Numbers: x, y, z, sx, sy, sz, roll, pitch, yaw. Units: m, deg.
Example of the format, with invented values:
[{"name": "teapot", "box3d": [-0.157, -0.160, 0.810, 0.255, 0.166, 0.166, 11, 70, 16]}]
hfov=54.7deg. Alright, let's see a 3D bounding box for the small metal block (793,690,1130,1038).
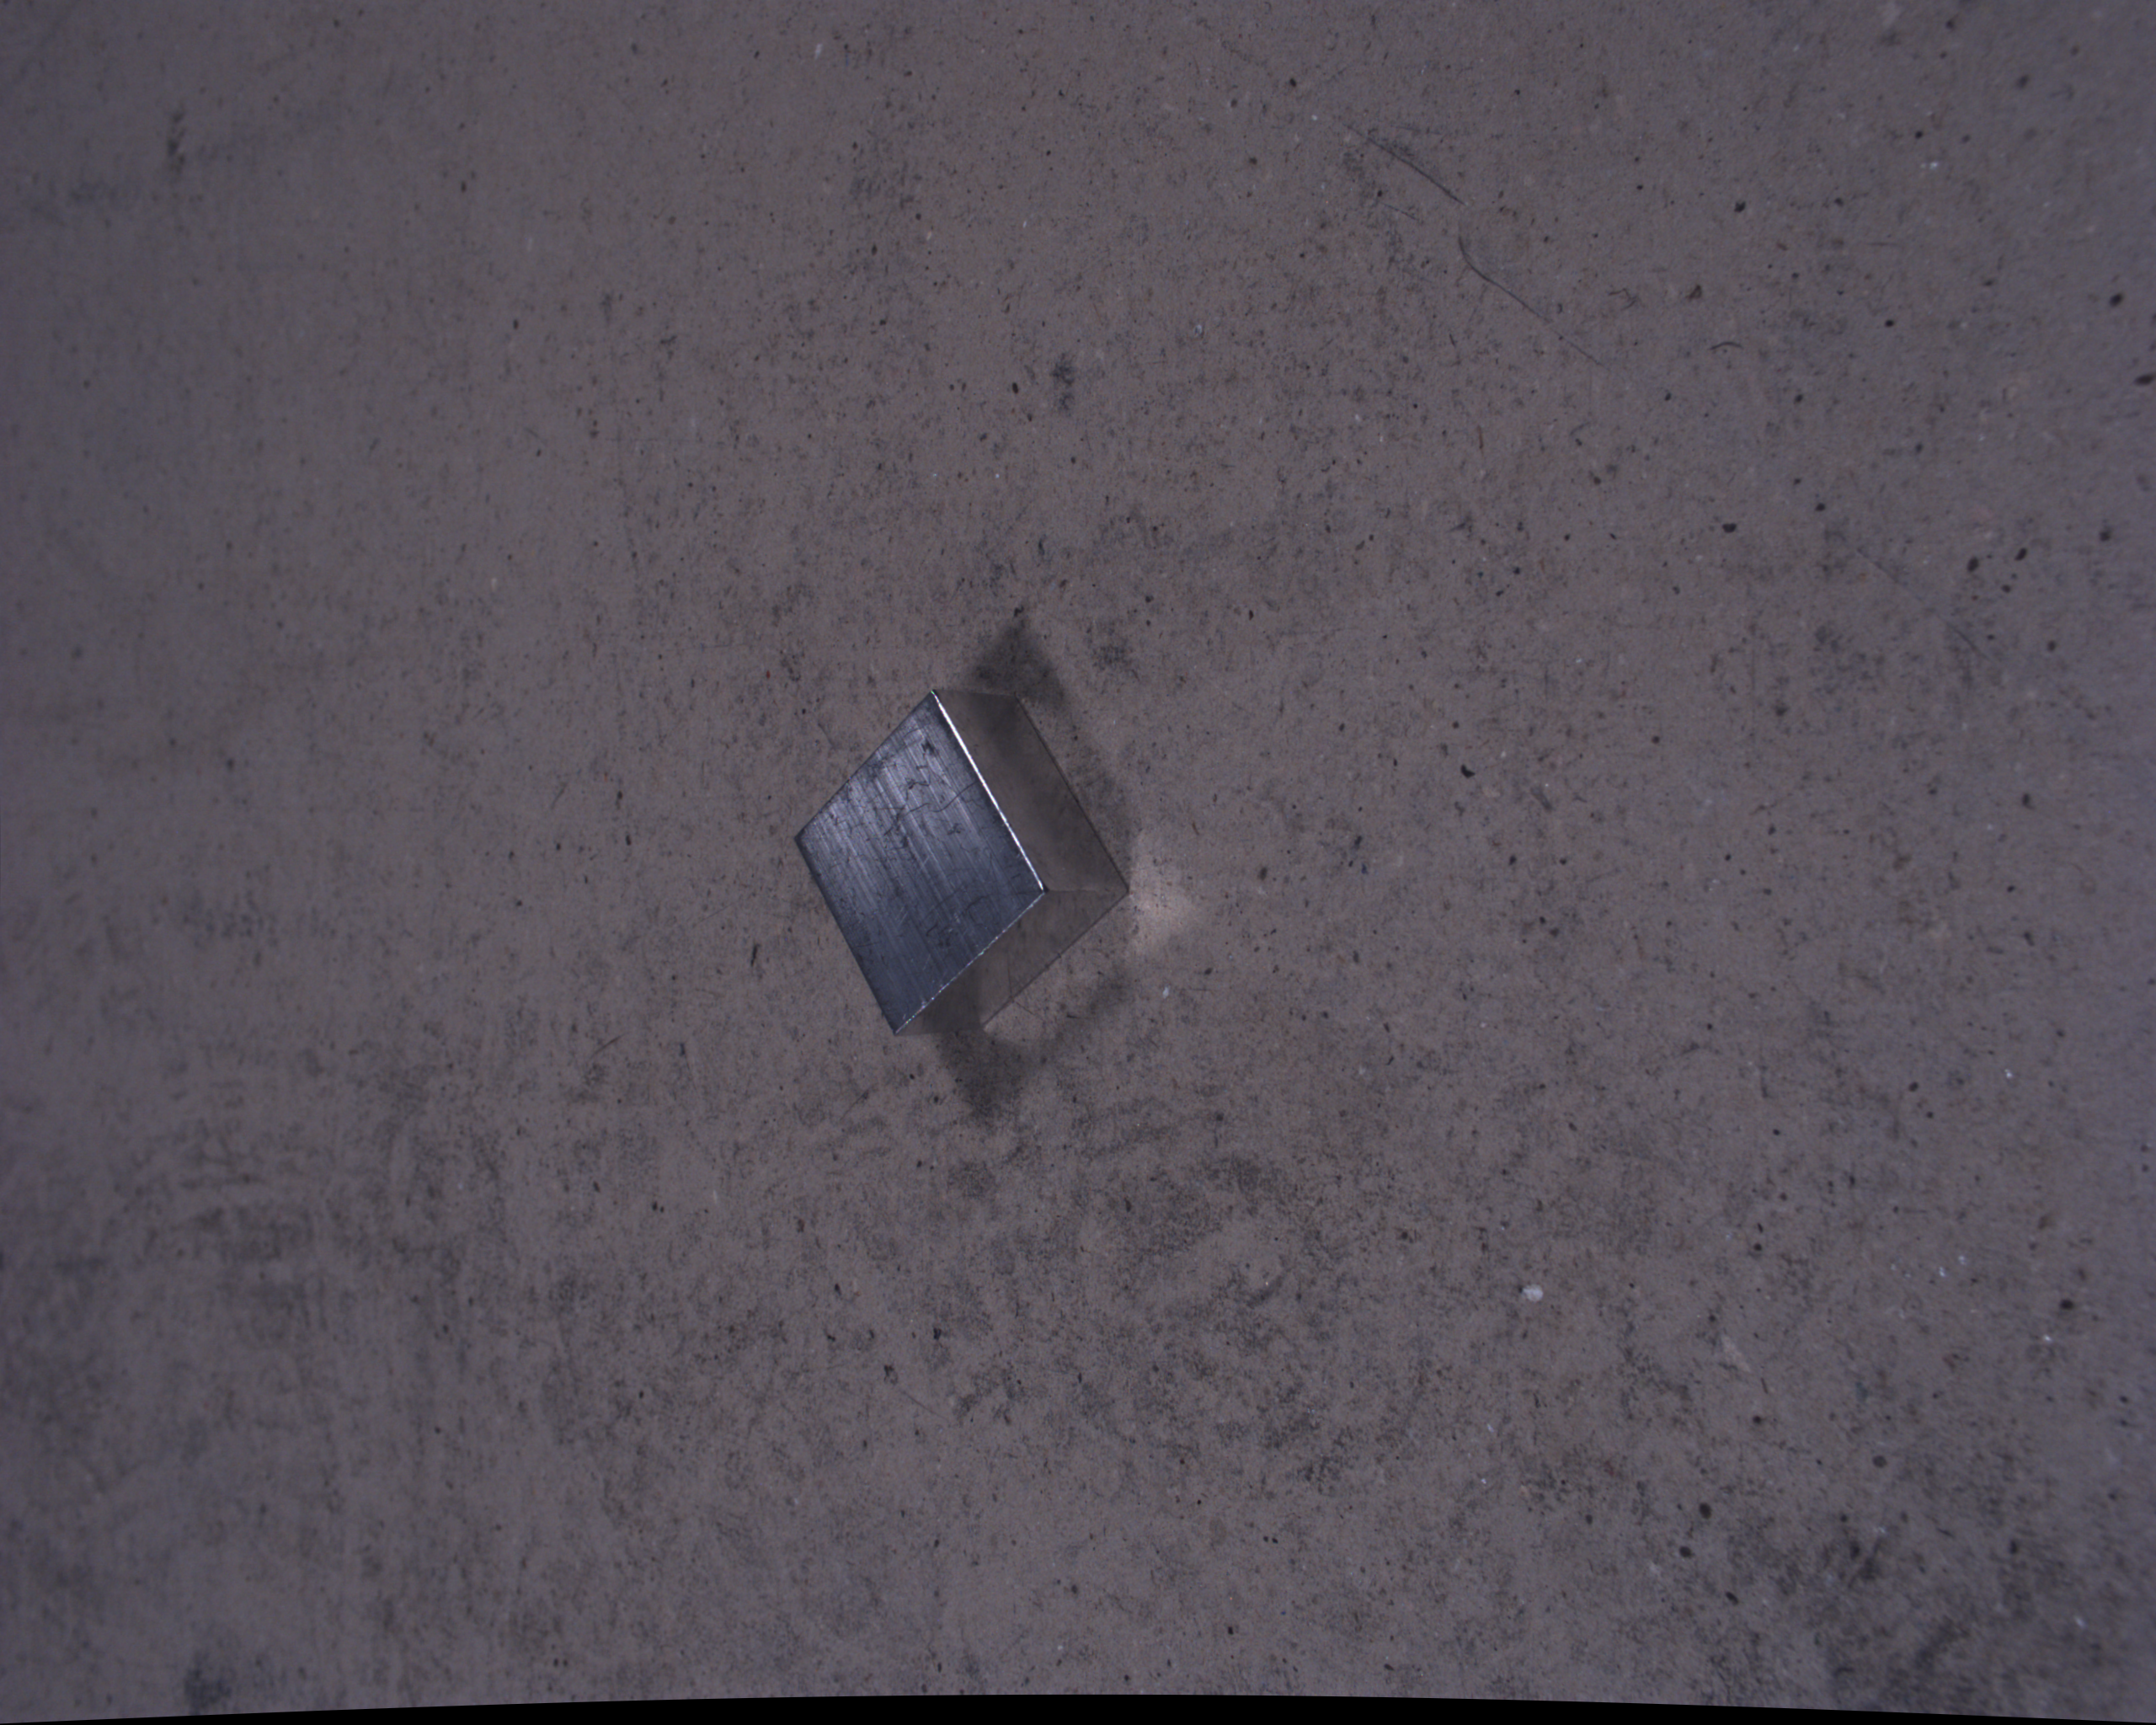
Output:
[{"name": "small metal block", "box3d": [-0.025, 0.001, 0.425, 0.050, 0.025, 0.050, -44, 64, 31]}]
